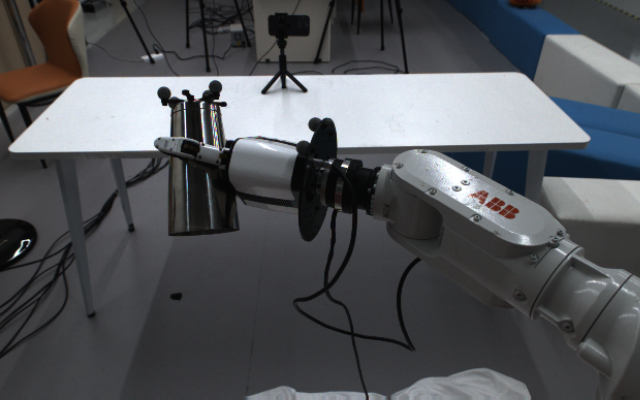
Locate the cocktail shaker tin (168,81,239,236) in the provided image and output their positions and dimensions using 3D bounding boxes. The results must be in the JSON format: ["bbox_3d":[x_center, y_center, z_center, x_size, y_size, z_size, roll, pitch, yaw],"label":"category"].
[{"bbox_3d":[-0.161,-0.040,0.646,0.093,0.170,0.093,-6,-7,-1],"label":"cocktail shaker tin"}]
